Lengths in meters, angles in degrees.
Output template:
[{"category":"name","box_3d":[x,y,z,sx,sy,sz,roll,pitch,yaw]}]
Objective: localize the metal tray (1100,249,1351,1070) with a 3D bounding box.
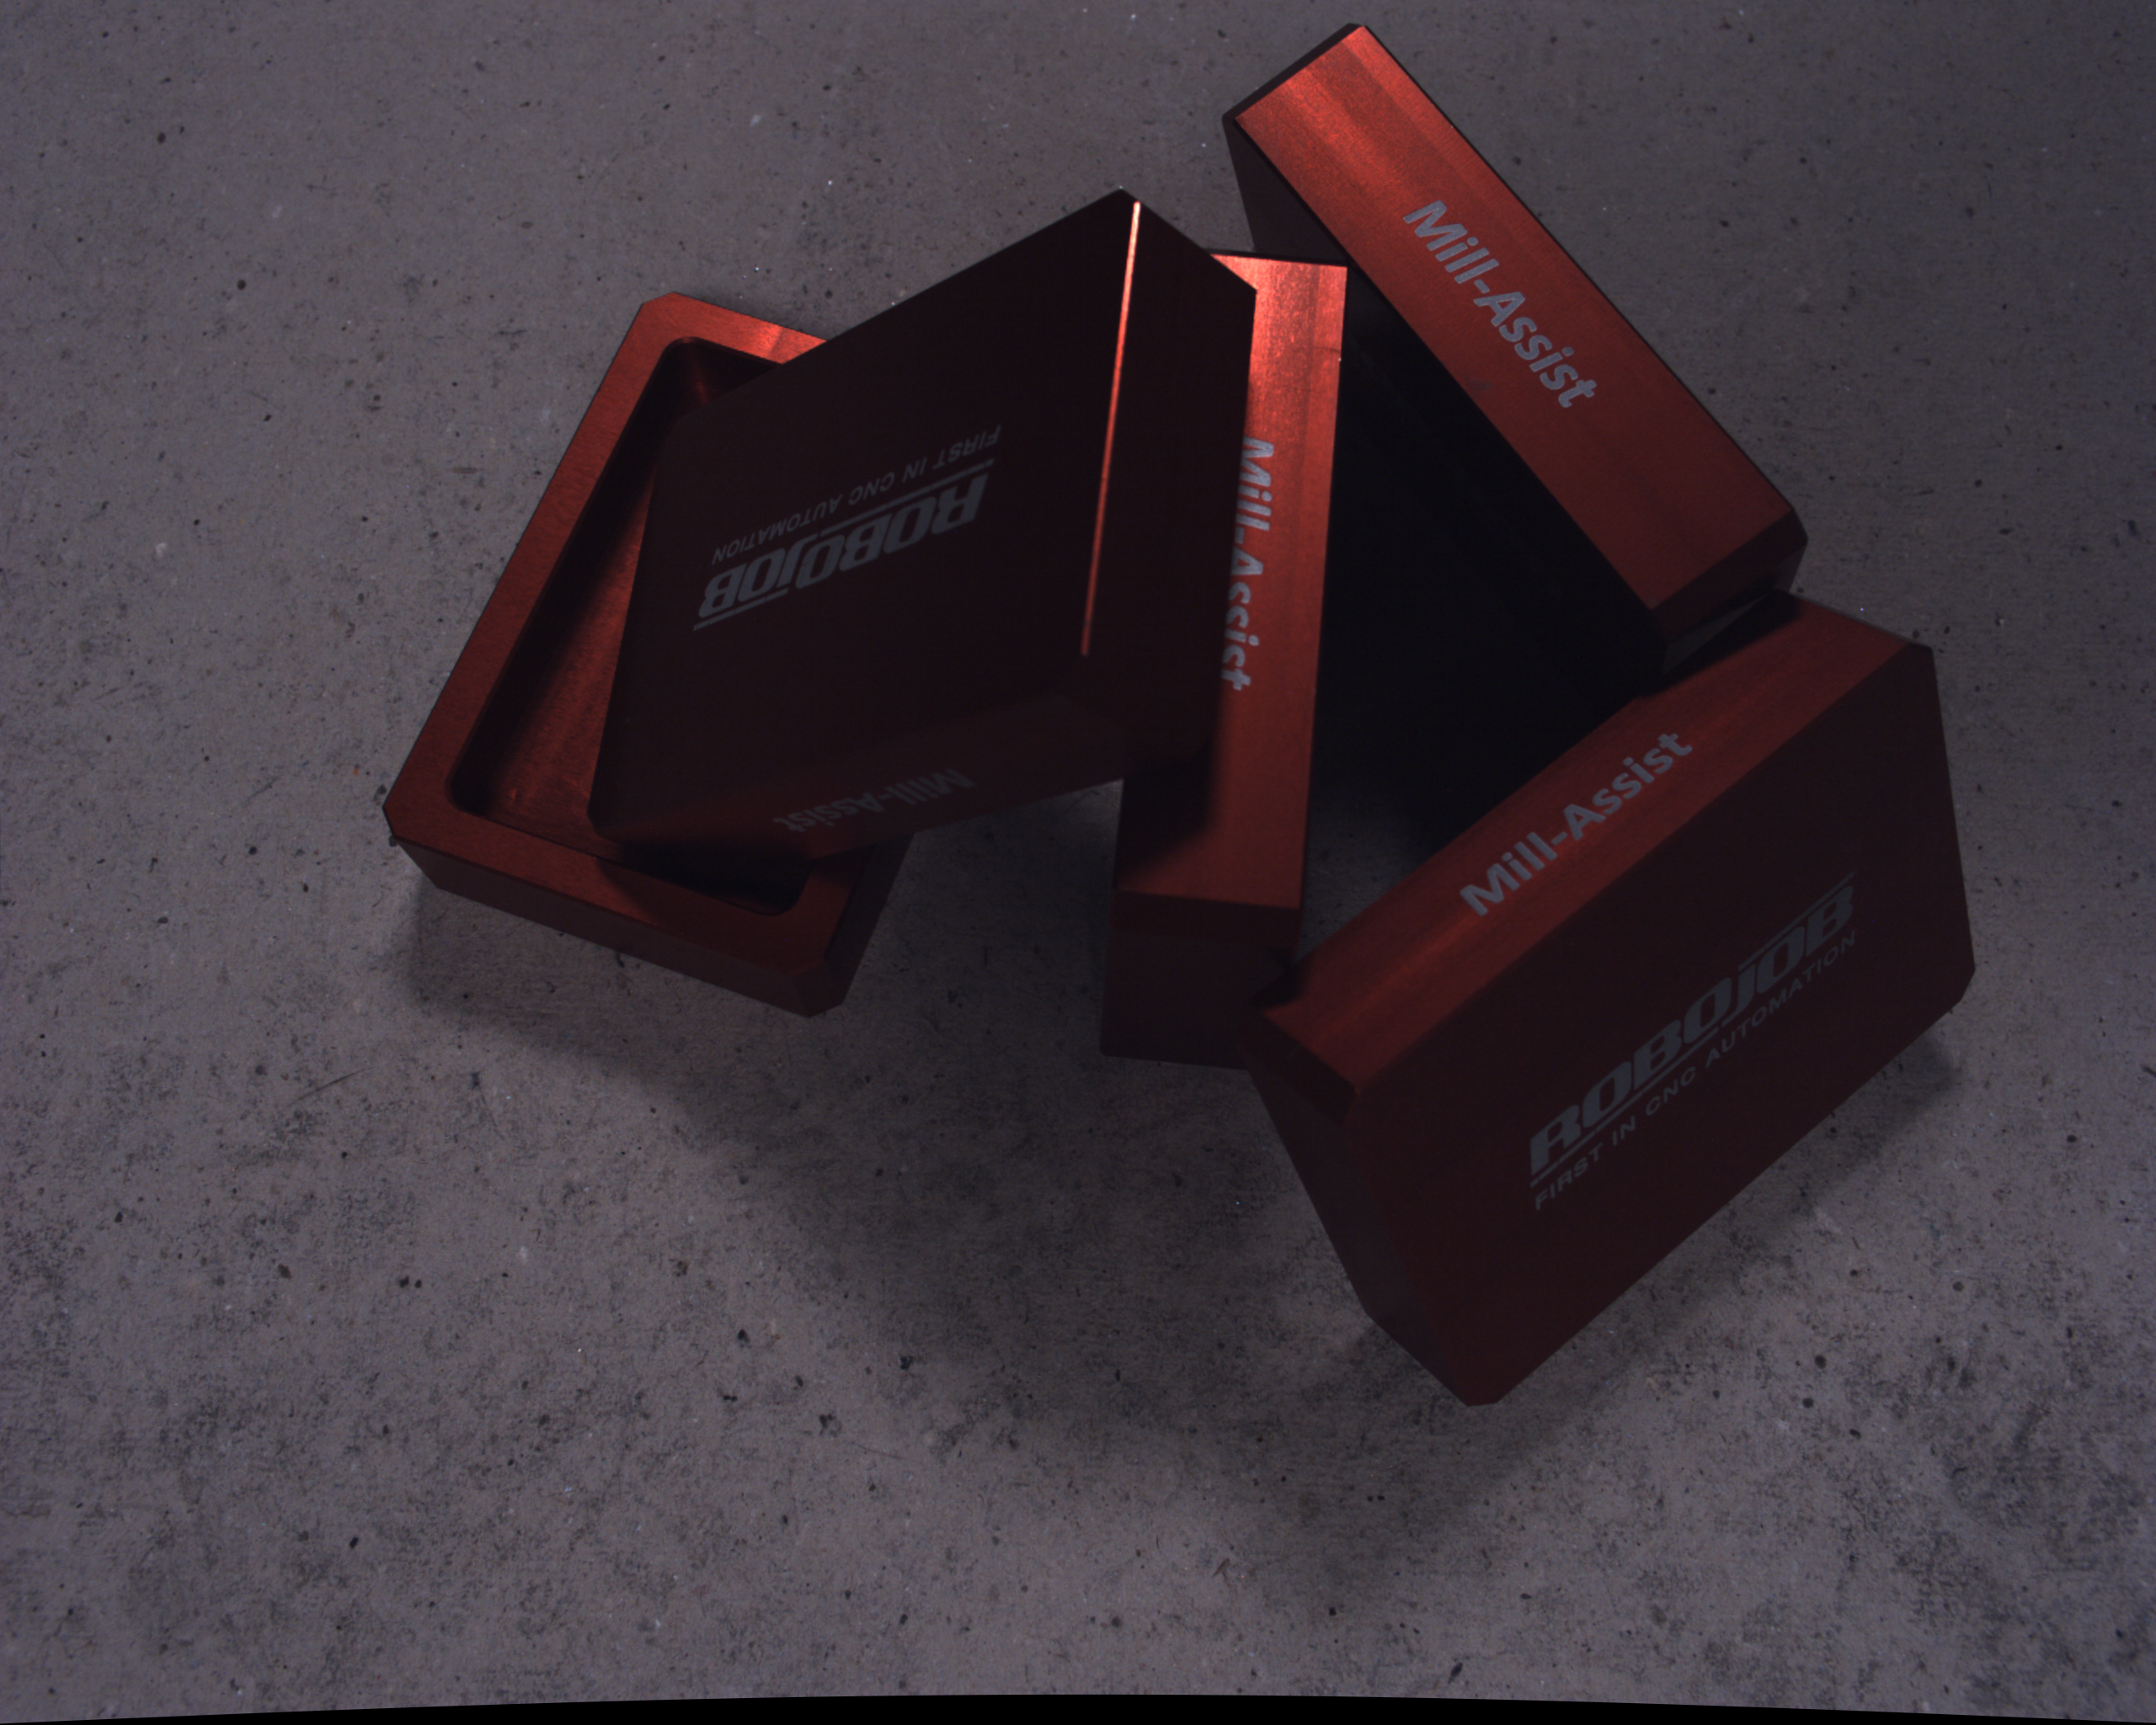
[{"category":"metal tray","box_3d":[0.026,-0.035,0.388,0.030,0.090,0.130,6,71,2]}]

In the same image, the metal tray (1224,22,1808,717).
[{"category":"metal tray","box_3d":[0.083,-0.088,0.406,0.030,0.090,0.130,-36,74,3]}]

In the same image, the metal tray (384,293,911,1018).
[{"category":"metal tray","box_3d":[-0.068,-0.044,0.422,0.090,0.030,0.130,19,71,6]}]

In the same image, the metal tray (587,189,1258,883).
[{"category":"metal tray","box_3d":[-0.031,-0.052,0.368,0.130,0.030,0.090,-13,63,43]}]

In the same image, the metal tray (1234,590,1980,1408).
[{"category":"metal tray","box_3d":[0.098,0.025,0.367,0.131,0.090,0.030,-37,39,-12]}]
